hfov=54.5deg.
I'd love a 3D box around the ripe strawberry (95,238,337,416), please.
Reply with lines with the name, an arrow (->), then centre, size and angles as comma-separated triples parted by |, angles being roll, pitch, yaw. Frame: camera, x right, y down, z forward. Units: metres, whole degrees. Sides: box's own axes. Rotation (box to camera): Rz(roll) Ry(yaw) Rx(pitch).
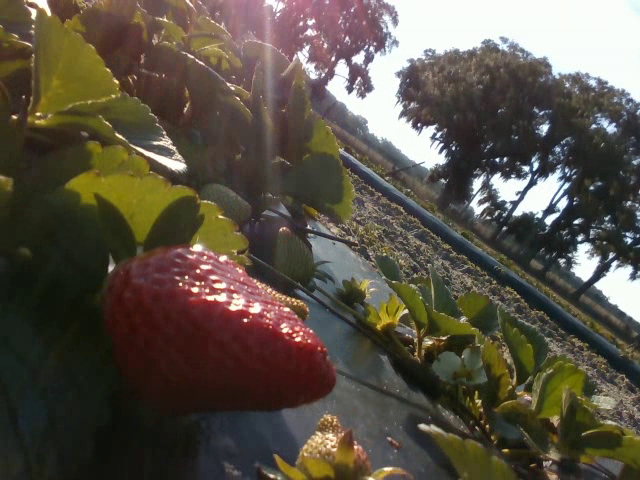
ripe strawberry -> -0.023, 0.023, 0.150 | 0.072, 0.055, 0.057 | 18, 48, 25
